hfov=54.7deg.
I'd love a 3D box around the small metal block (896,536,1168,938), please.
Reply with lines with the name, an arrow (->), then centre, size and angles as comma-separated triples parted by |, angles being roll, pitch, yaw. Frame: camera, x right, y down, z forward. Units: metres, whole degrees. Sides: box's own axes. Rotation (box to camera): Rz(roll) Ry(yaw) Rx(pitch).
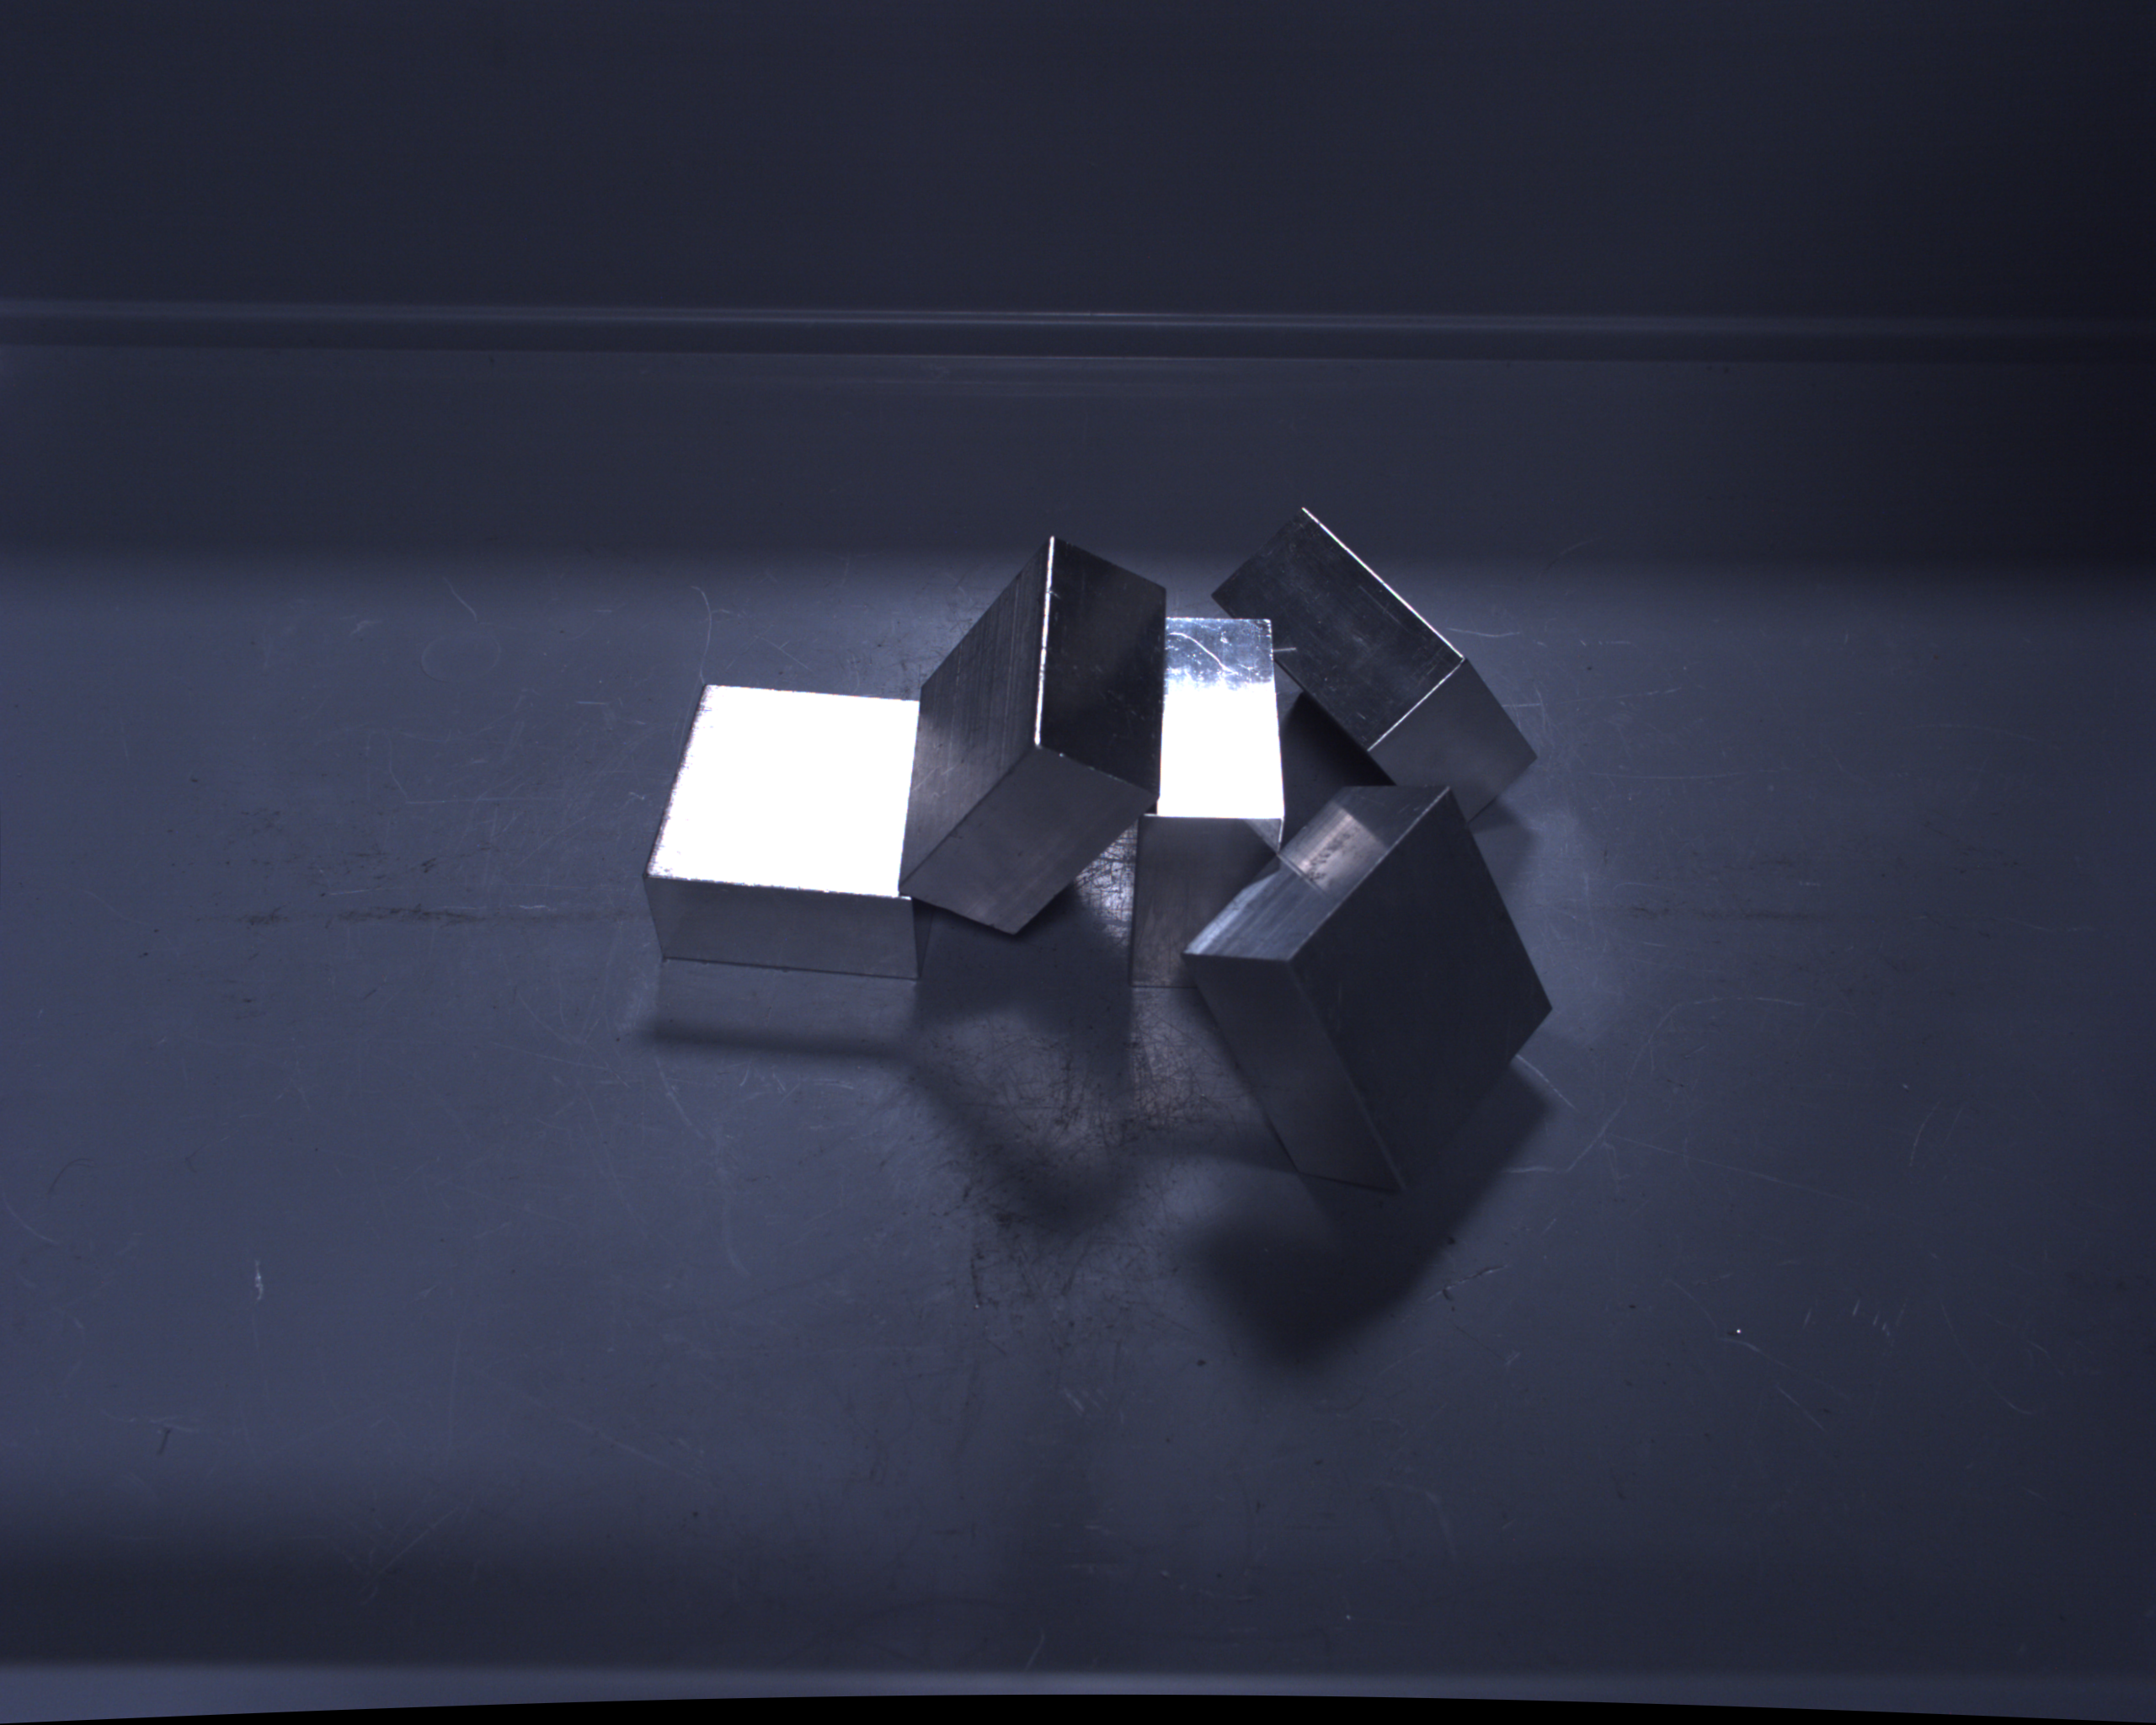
small metal block -> -0.008, -0.022, 0.382 | 0.025, 0.050, 0.050 | 22, 49, -23

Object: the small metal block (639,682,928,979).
small metal block -> -0.053, -0.007, 0.407 | 0.050, 0.025, 0.050 | 5, 50, 4

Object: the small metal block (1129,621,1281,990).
small metal block -> 0.023, -0.010, 0.396 | 0.025, 0.050, 0.050 | 1, 50, 0

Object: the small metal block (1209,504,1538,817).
small metal block -> 0.059, -0.037, 0.415 | 0.025, 0.050, 0.050 | -44, 57, 7

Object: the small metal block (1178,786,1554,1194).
small metal block -> 0.052, 0.021, 0.366 | 0.025, 0.050, 0.050 | 2, 38, 50
